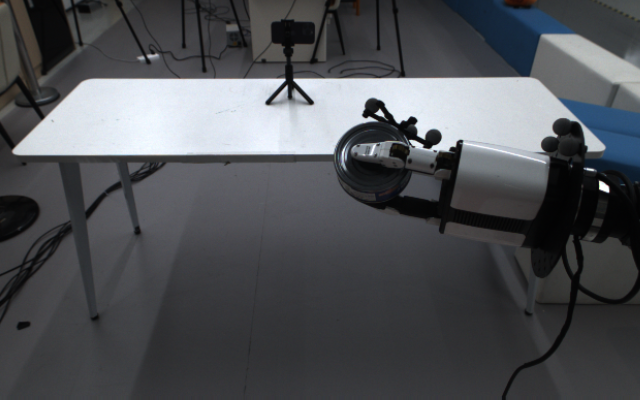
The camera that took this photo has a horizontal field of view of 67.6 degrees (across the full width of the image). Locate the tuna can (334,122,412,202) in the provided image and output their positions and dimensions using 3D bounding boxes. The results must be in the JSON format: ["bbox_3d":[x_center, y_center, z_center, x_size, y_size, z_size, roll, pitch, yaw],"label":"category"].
[{"bbox_3d":[0.063,-0.037,0.529,0.085,0.034,0.085,-4,69,10],"label":"tuna can"}]
